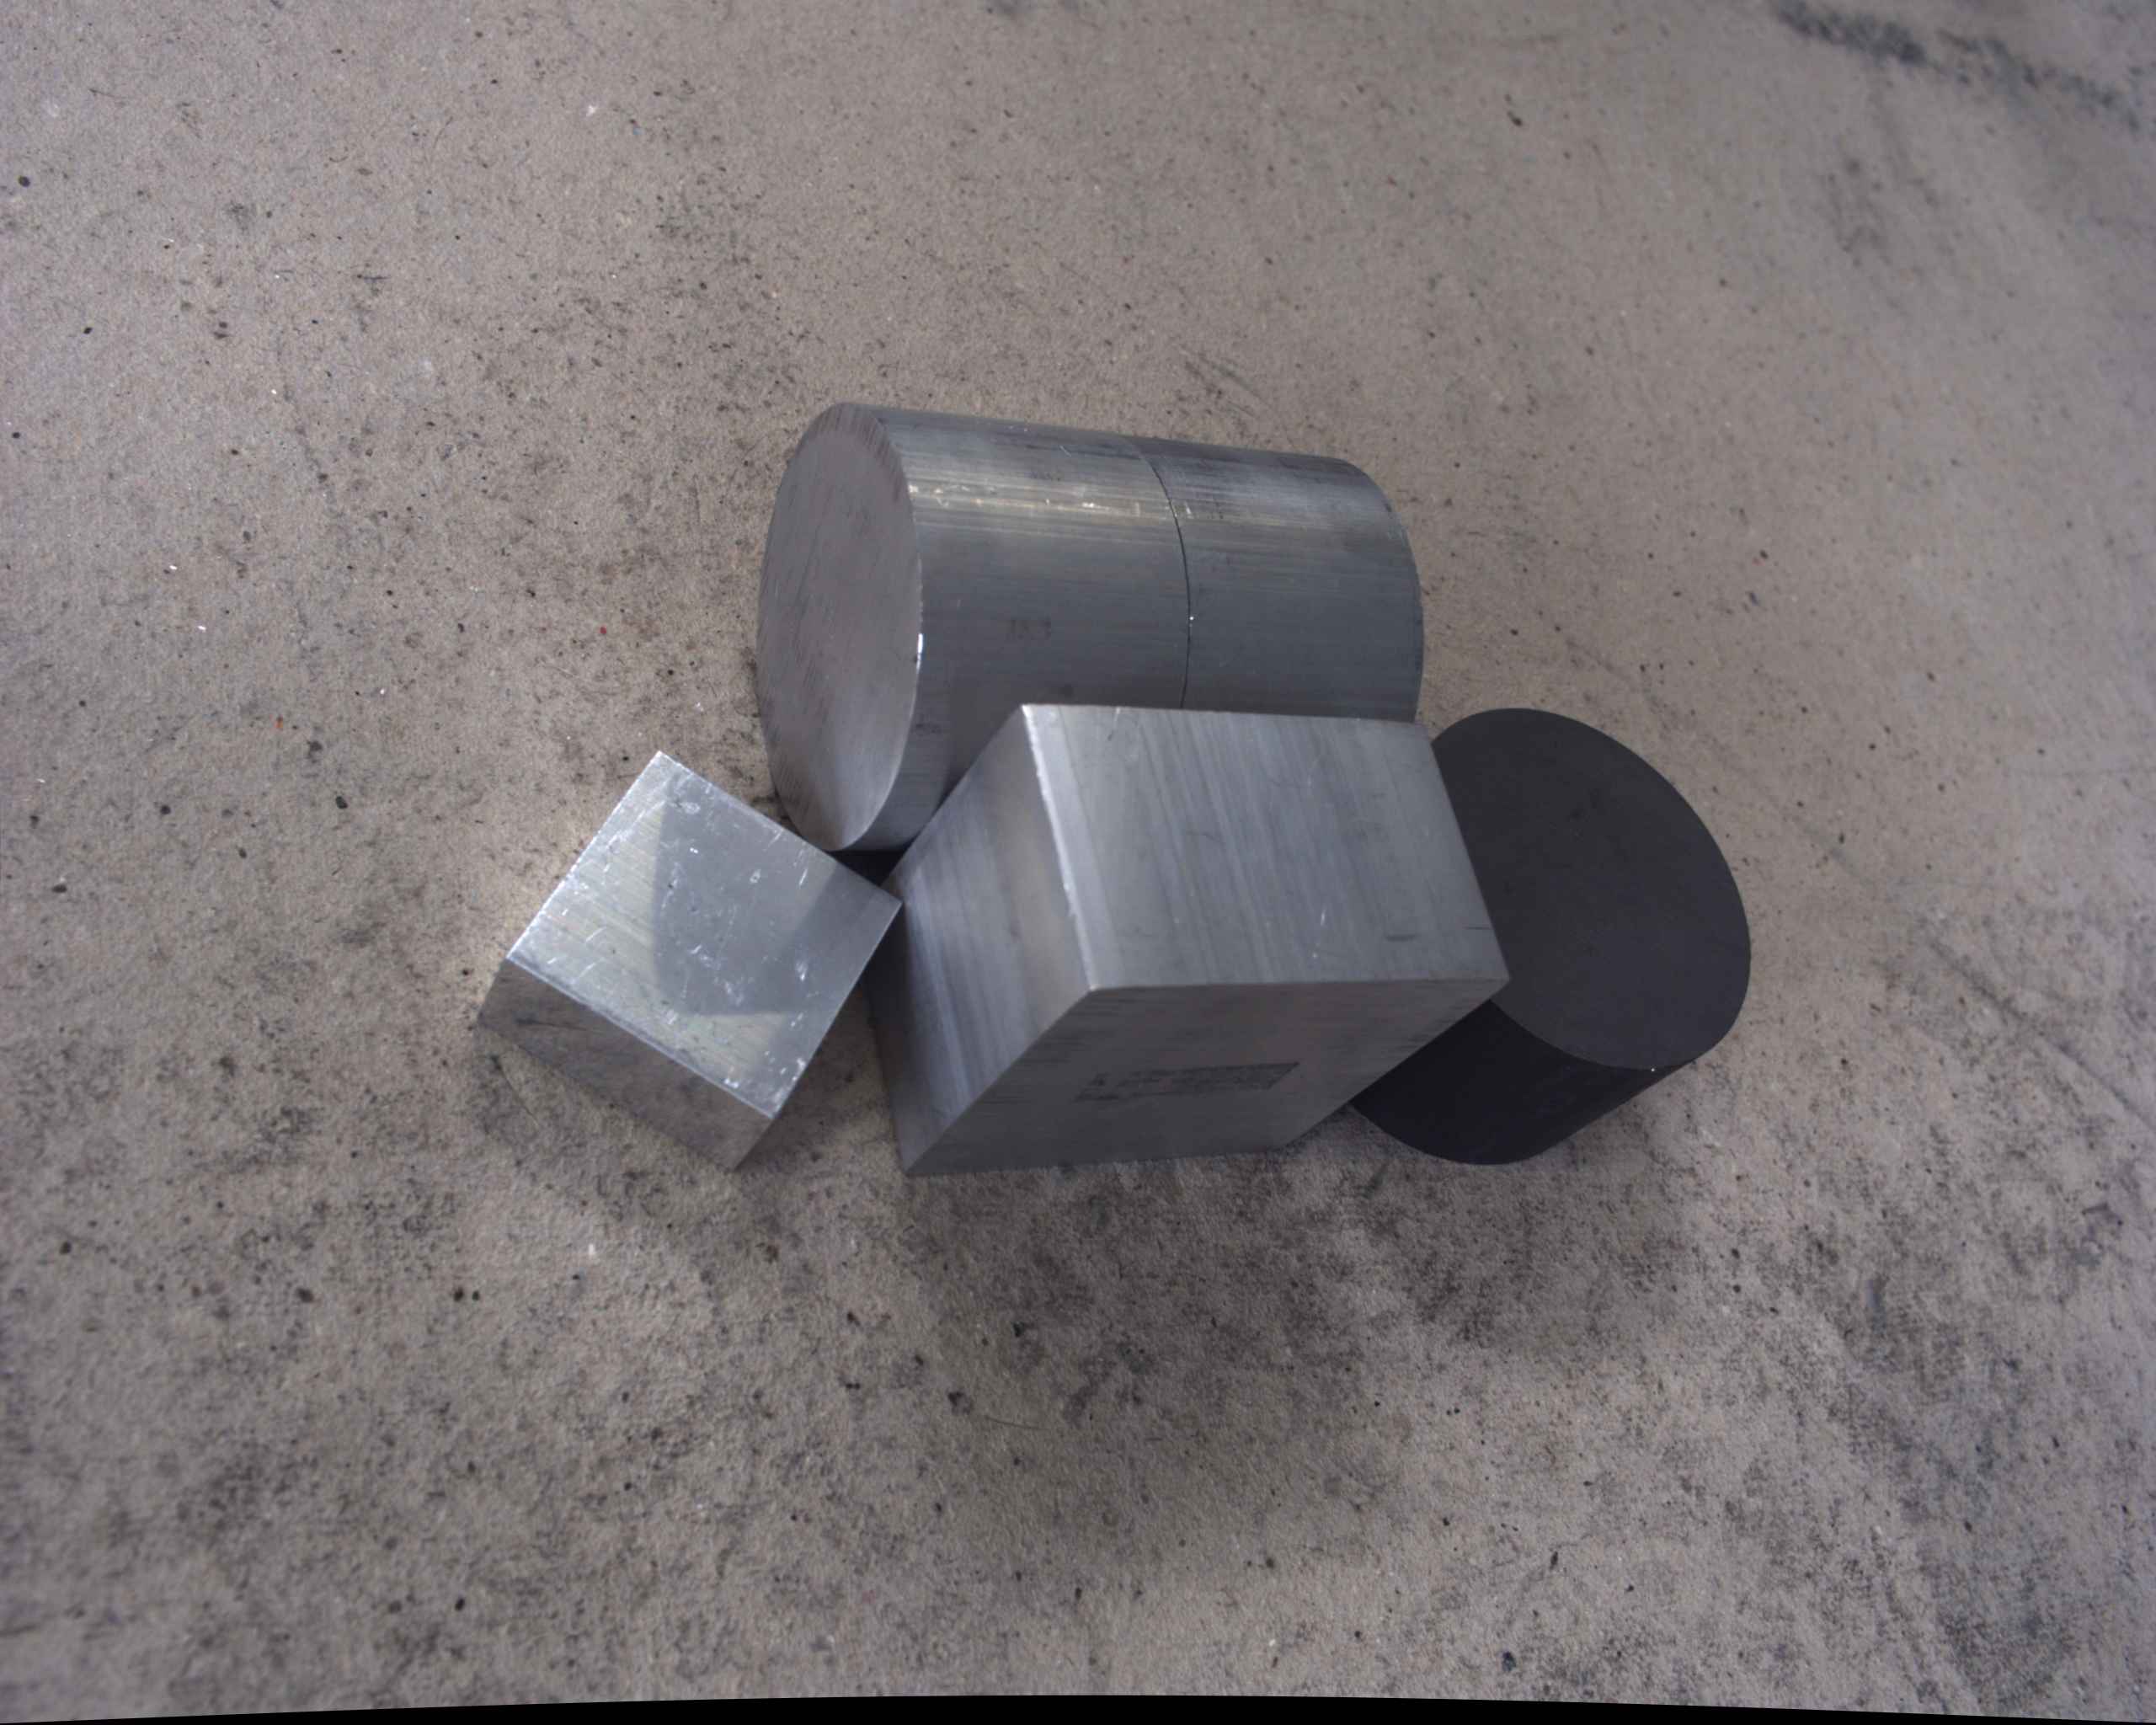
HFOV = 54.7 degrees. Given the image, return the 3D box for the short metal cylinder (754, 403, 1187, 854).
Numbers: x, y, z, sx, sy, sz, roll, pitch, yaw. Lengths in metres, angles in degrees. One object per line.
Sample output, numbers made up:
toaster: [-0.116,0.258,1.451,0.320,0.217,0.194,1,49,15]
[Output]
short metal cylinder: [-0.022,-0.041,0.384,0.050,0.080,0.080,1,62,-28]

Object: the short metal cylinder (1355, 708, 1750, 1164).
short metal cylinder: [0.088,0.015,0.427,0.081,0.050,0.080,14,56,-21]

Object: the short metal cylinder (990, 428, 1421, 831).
short metal cylinder: [0.022,-0.042,0.408,0.050,0.080,0.080,1,62,-28]

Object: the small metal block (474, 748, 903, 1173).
small metal block: [-0.066,0.017,0.360,0.050,0.025,0.050,33,51,-7]

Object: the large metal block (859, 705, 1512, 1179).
large metal block: [0.014,0.016,0.369,0.081,0.080,0.050,1,62,-28]
